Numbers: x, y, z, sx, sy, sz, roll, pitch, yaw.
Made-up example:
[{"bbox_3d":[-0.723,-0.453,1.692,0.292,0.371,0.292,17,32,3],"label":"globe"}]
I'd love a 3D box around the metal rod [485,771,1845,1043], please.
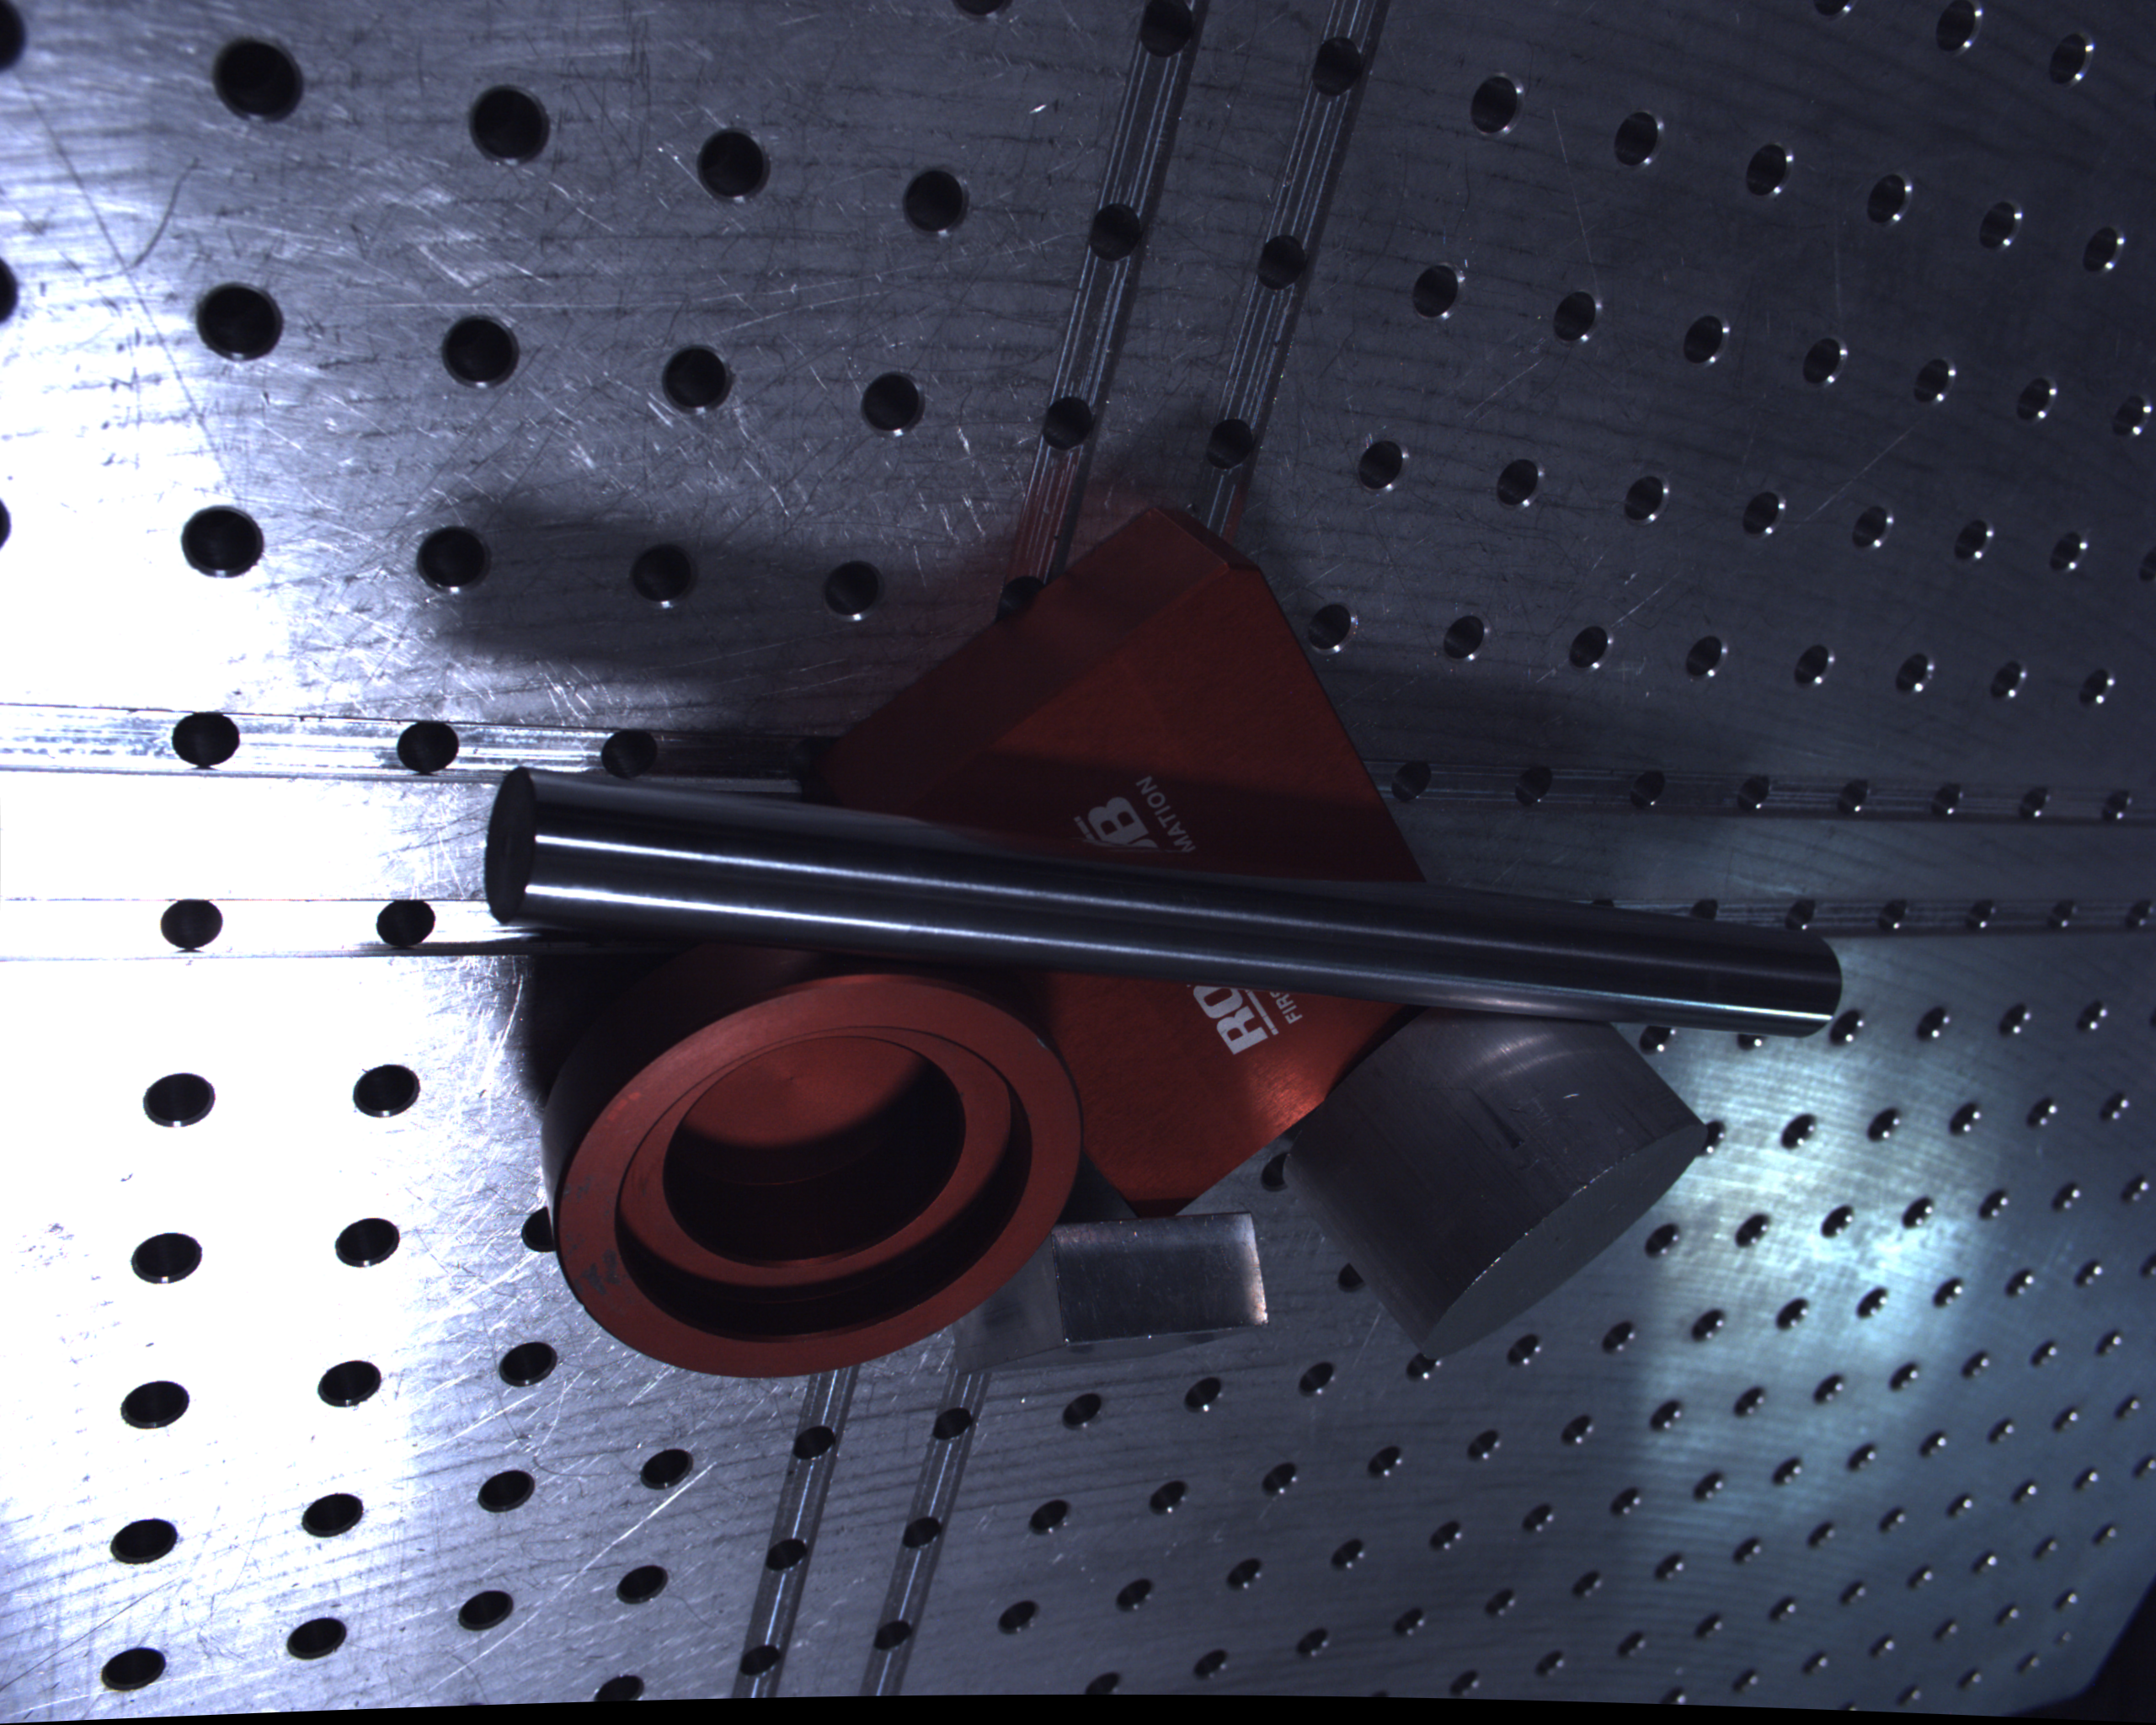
[{"bbox_3d":[0.040,0.014,0.402,0.302,0.025,0.025,7,115,-32],"label":"metal rod"}]

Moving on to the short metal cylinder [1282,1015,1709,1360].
[{"bbox_3d":[0.093,0.067,0.470,0.080,0.050,0.080,-30,154,-17],"label":"short metal cylinder"}]

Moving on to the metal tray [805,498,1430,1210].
[{"bbox_3d":[0.017,0.003,0.422,0.090,0.030,0.130,-37,130,-4],"label":"metal tray"}]

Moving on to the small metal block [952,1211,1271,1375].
[{"bbox_3d":[0.006,0.095,0.457,0.050,0.025,0.050,2,161,-31],"label":"small metal block"}]

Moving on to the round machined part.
[{"bbox_3d":[-0.052,0.048,0.396,0.099,0.042,0.097,-11,128,-15],"label":"round machined part"}]
